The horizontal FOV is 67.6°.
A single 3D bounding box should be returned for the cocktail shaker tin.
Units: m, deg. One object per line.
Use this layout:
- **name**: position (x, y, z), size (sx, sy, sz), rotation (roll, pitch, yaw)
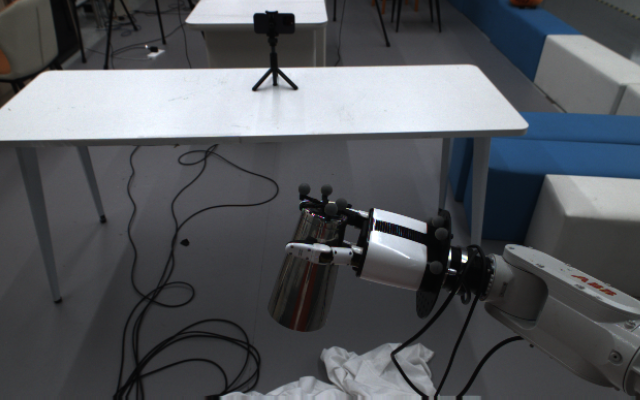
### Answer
- **cocktail shaker tin**: position (-0.011, 0.092, 0.708), size (0.093, 0.170, 0.093), rotation (14, 19, -5)
